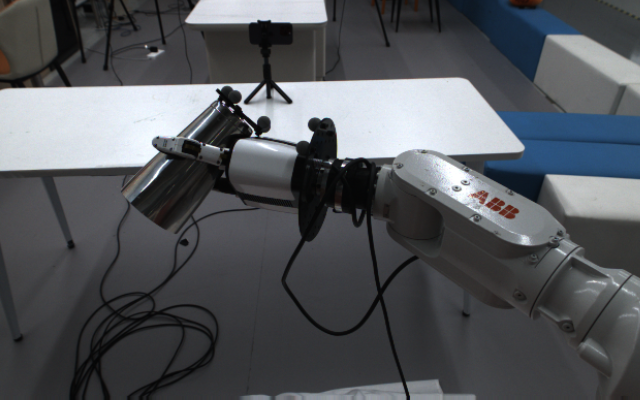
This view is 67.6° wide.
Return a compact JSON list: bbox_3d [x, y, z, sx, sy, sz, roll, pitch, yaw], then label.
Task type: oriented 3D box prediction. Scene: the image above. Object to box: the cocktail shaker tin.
[{"bbox_3d":[-0.169,-0.051,0.648,0.170,0.093,0.093,-48,49,-3],"label":"cocktail shaker tin"}]
